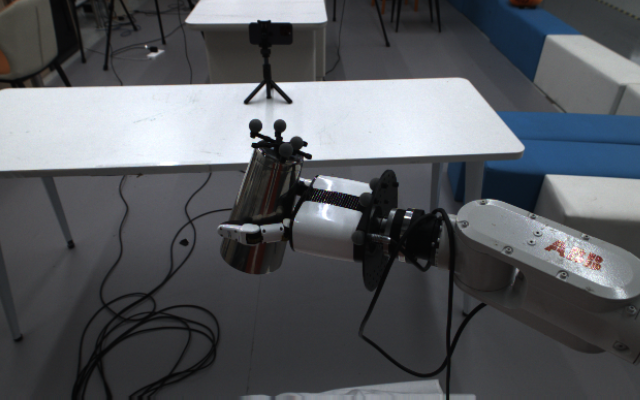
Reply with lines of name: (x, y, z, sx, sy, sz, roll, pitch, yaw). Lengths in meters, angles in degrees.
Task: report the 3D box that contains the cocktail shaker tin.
cocktail shaker tin: (-0.076, 0.007, 0.666, 0.093, 0.170, 0.093, 15, 27, -8)
